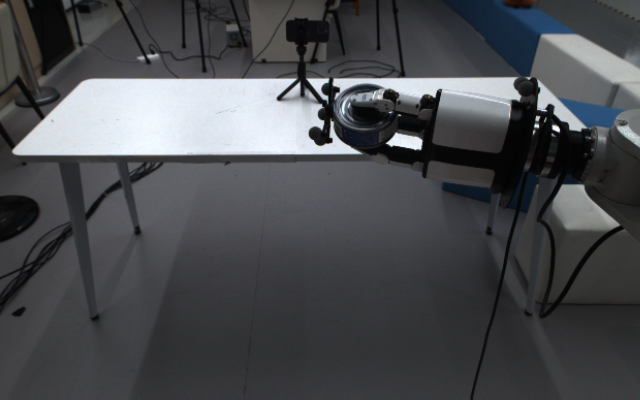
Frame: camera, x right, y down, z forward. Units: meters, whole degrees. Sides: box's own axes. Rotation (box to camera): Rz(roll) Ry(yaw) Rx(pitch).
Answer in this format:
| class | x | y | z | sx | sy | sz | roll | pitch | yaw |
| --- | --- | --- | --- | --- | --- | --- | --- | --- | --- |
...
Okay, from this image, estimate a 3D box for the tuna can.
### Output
| class | x | y | z | sx | sy | sz | roll | pitch | yaw |
| --- | --- | --- | --- | --- | --- | --- | --- | --- | --- |
| tuna can | 0.063 | -0.107 | 0.629 | 0.085 | 0.034 | 0.085 | -2 | 57 | 3 |
